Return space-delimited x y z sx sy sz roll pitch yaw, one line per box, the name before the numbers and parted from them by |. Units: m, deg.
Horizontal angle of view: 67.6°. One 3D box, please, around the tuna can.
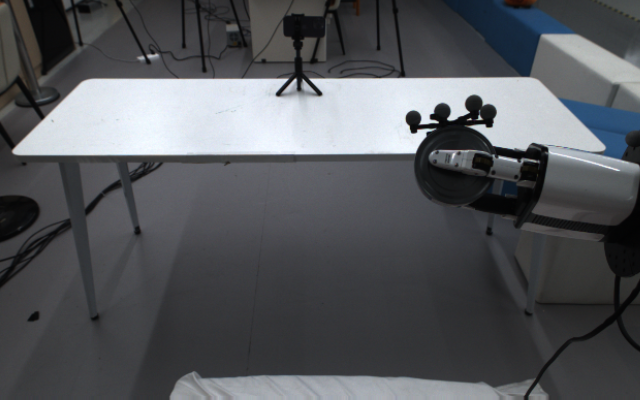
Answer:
tuna can | 0.146 -0.037 0.528 0.085 0.085 0.034 10 -6 11
